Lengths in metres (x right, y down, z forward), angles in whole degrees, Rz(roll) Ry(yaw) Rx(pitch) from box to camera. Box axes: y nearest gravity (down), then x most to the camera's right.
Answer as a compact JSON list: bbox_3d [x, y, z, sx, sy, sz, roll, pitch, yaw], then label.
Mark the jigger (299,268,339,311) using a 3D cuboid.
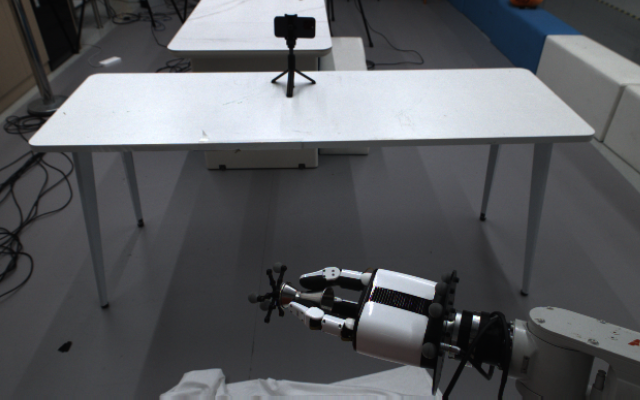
[{"bbox_3d":[-0.012,0.133,0.690,0.071,0.043,0.043,3,32,26],"label":"jigger"}]
